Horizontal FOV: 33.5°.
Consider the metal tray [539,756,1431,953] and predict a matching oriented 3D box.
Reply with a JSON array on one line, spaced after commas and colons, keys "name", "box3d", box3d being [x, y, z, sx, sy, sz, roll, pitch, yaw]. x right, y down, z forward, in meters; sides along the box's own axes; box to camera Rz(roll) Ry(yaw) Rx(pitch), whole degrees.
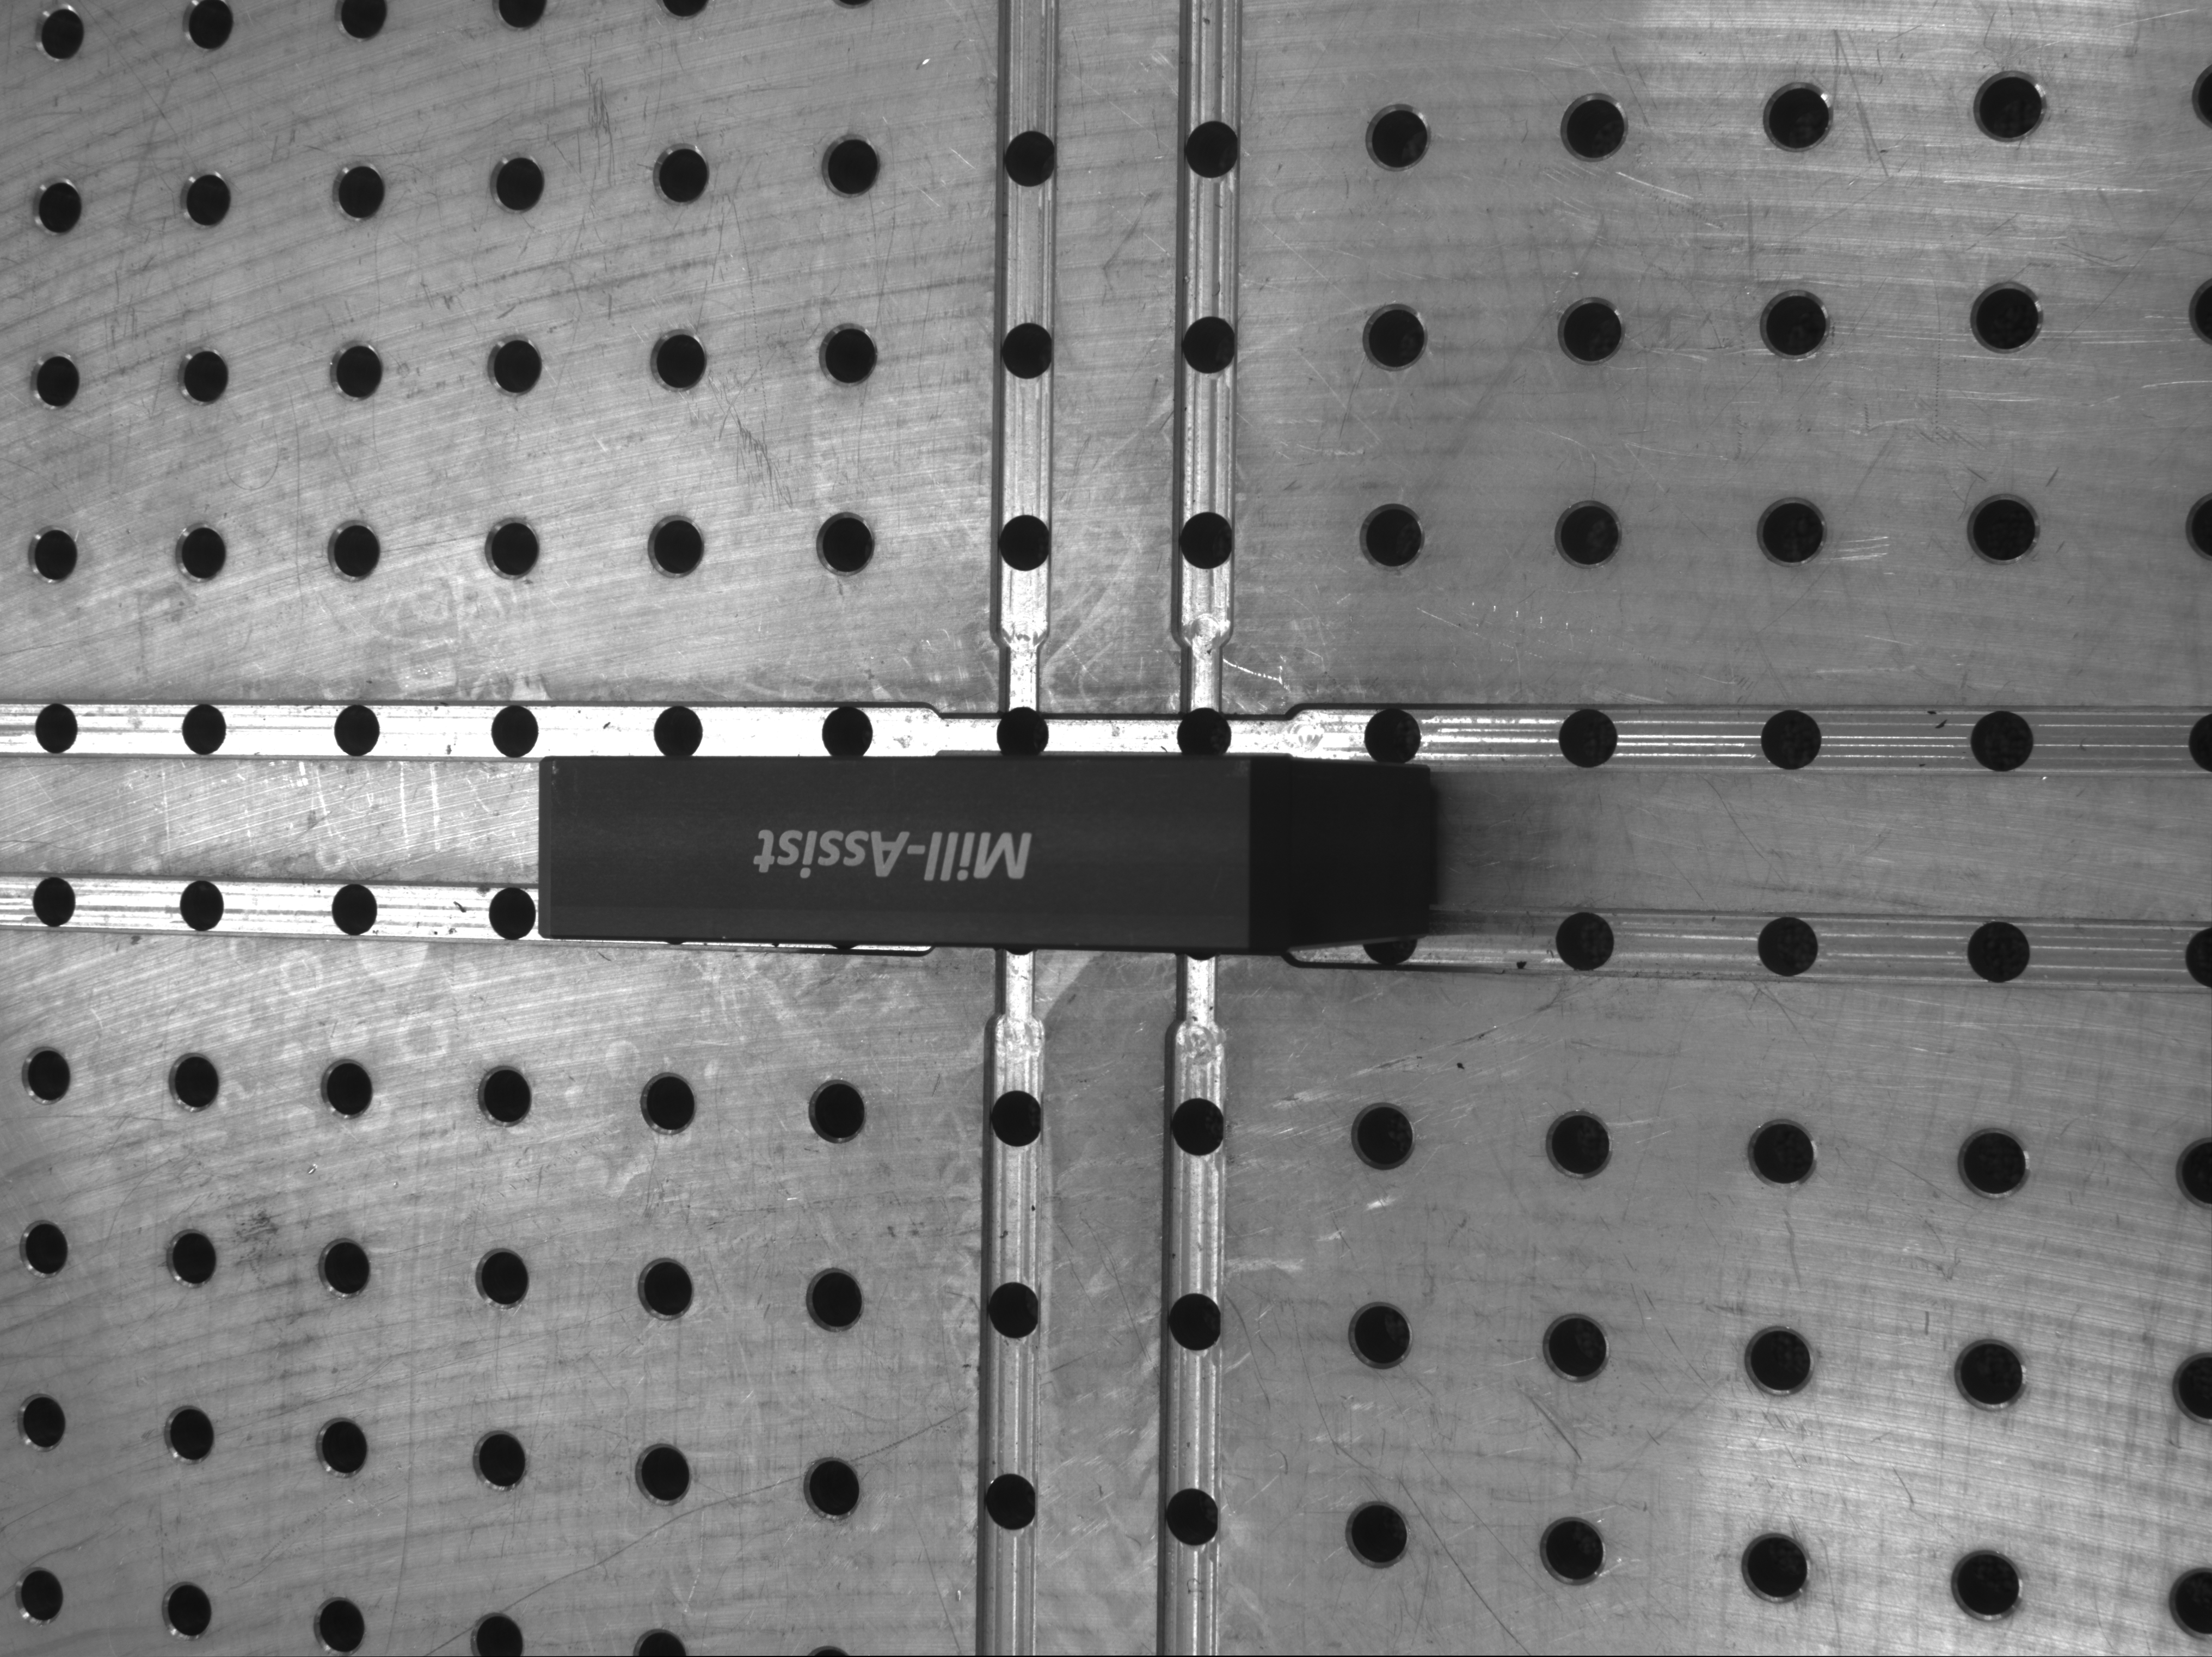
[{"name": "metal tray", "box3d": [-0.019, 0.004, 0.621, 0.130, 0.090, 0.030, 0, 90, 20]}]
